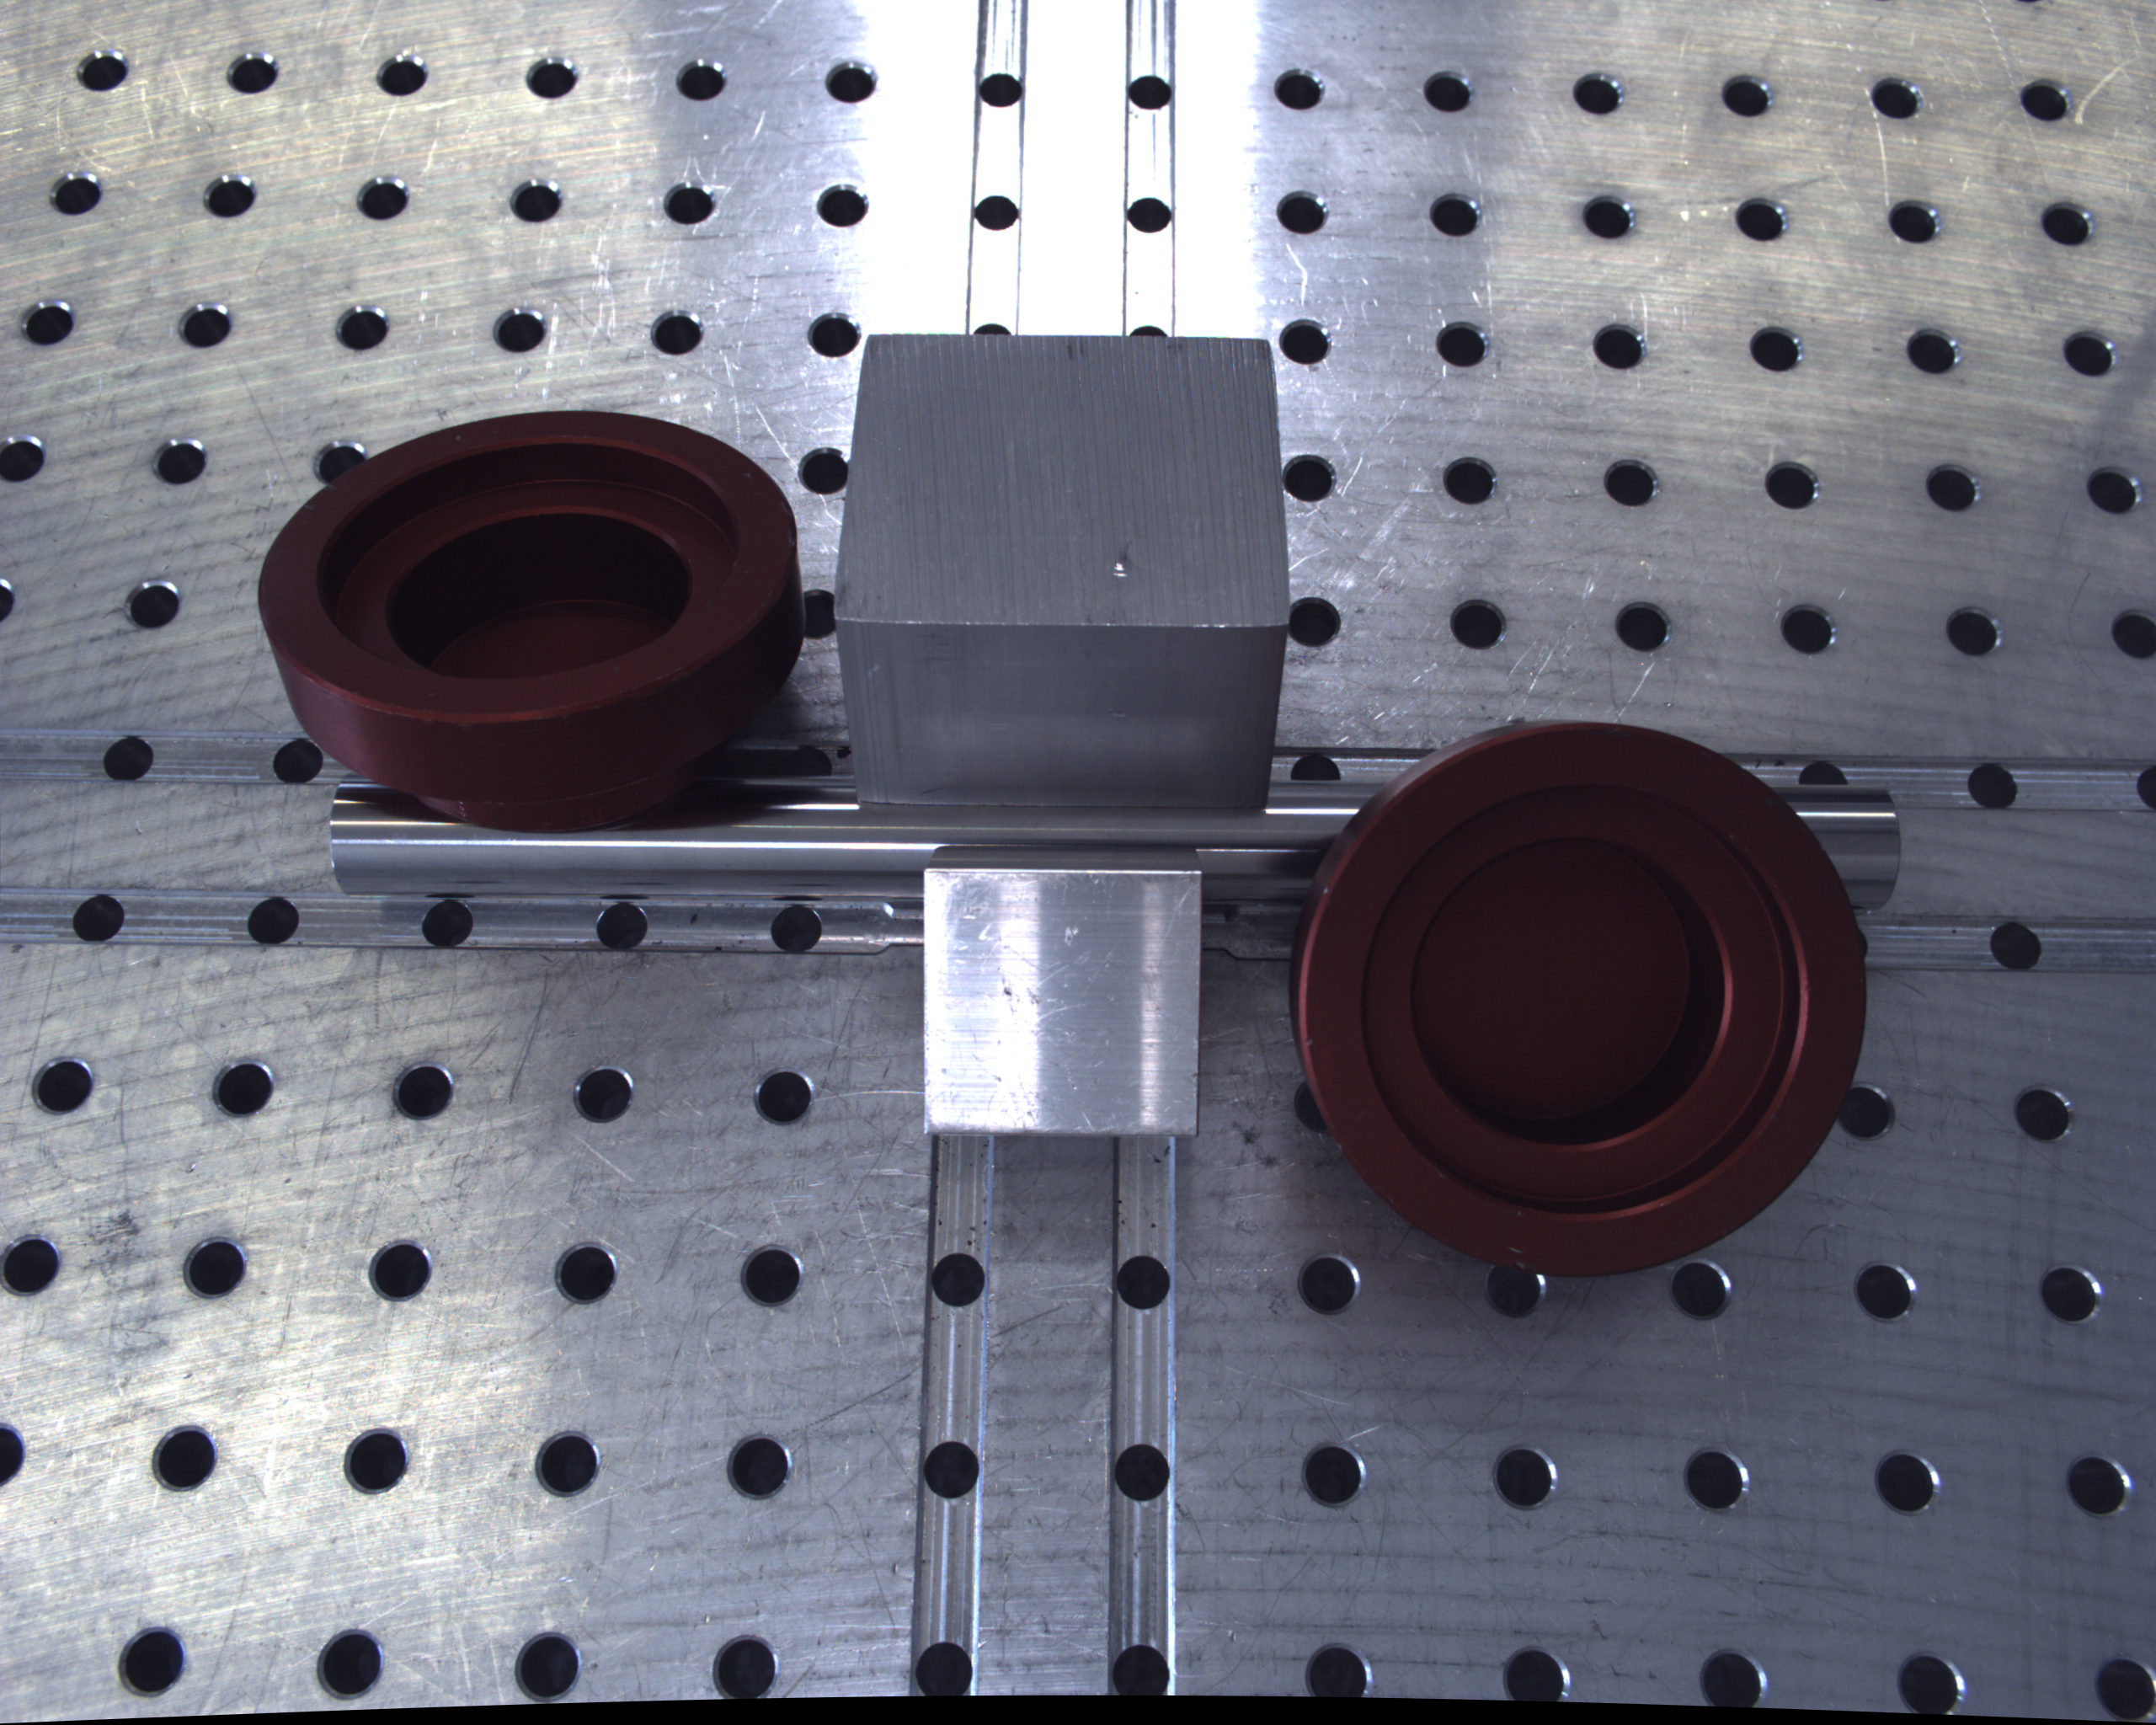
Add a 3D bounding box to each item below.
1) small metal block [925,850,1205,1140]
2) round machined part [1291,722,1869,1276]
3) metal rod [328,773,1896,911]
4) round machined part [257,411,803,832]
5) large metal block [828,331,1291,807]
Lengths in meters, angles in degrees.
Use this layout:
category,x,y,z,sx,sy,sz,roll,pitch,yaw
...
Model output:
category,x,y,z,sx,sy,sz,roll,pitch,yaw
small metal block,-0.003,0.024,0.392,0.050,0.025,0.050,1,99,0
round machined part,0.088,0.022,0.382,0.099,0.042,0.097,0,95,0
metal rod,0.007,-0.004,0.414,0.302,0.025,0.025,1,70,0
round machined part,-0.102,-0.044,0.404,0.099,0.042,0.098,0,44,0
large metal block,-0.003,-0.058,0.407,0.081,0.050,0.080,1,52,0
